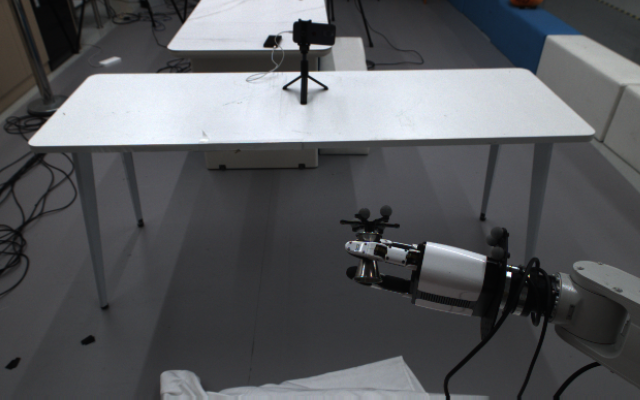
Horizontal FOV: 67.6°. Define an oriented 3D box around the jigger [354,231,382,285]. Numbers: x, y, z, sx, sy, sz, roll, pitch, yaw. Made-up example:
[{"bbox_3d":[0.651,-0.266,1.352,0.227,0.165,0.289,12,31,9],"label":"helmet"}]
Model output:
[{"bbox_3d":[0.069,0.083,0.712,0.043,0.043,0.071,5,71,4],"label":"jigger"}]
